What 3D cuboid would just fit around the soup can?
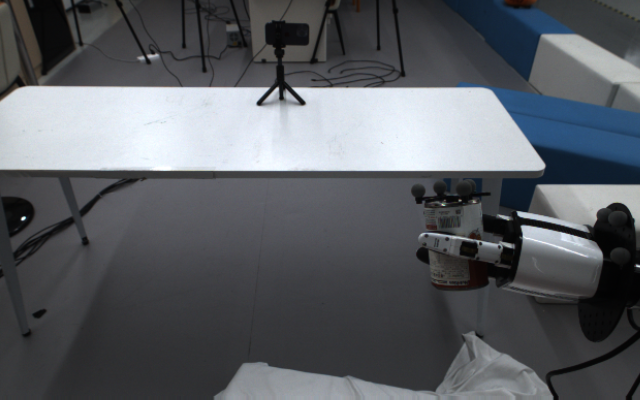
[{"bbox_3d":[0.166,0.050,0.582,0.067,0.101,0.067,-6,3,0],"label":"soup can"}]
